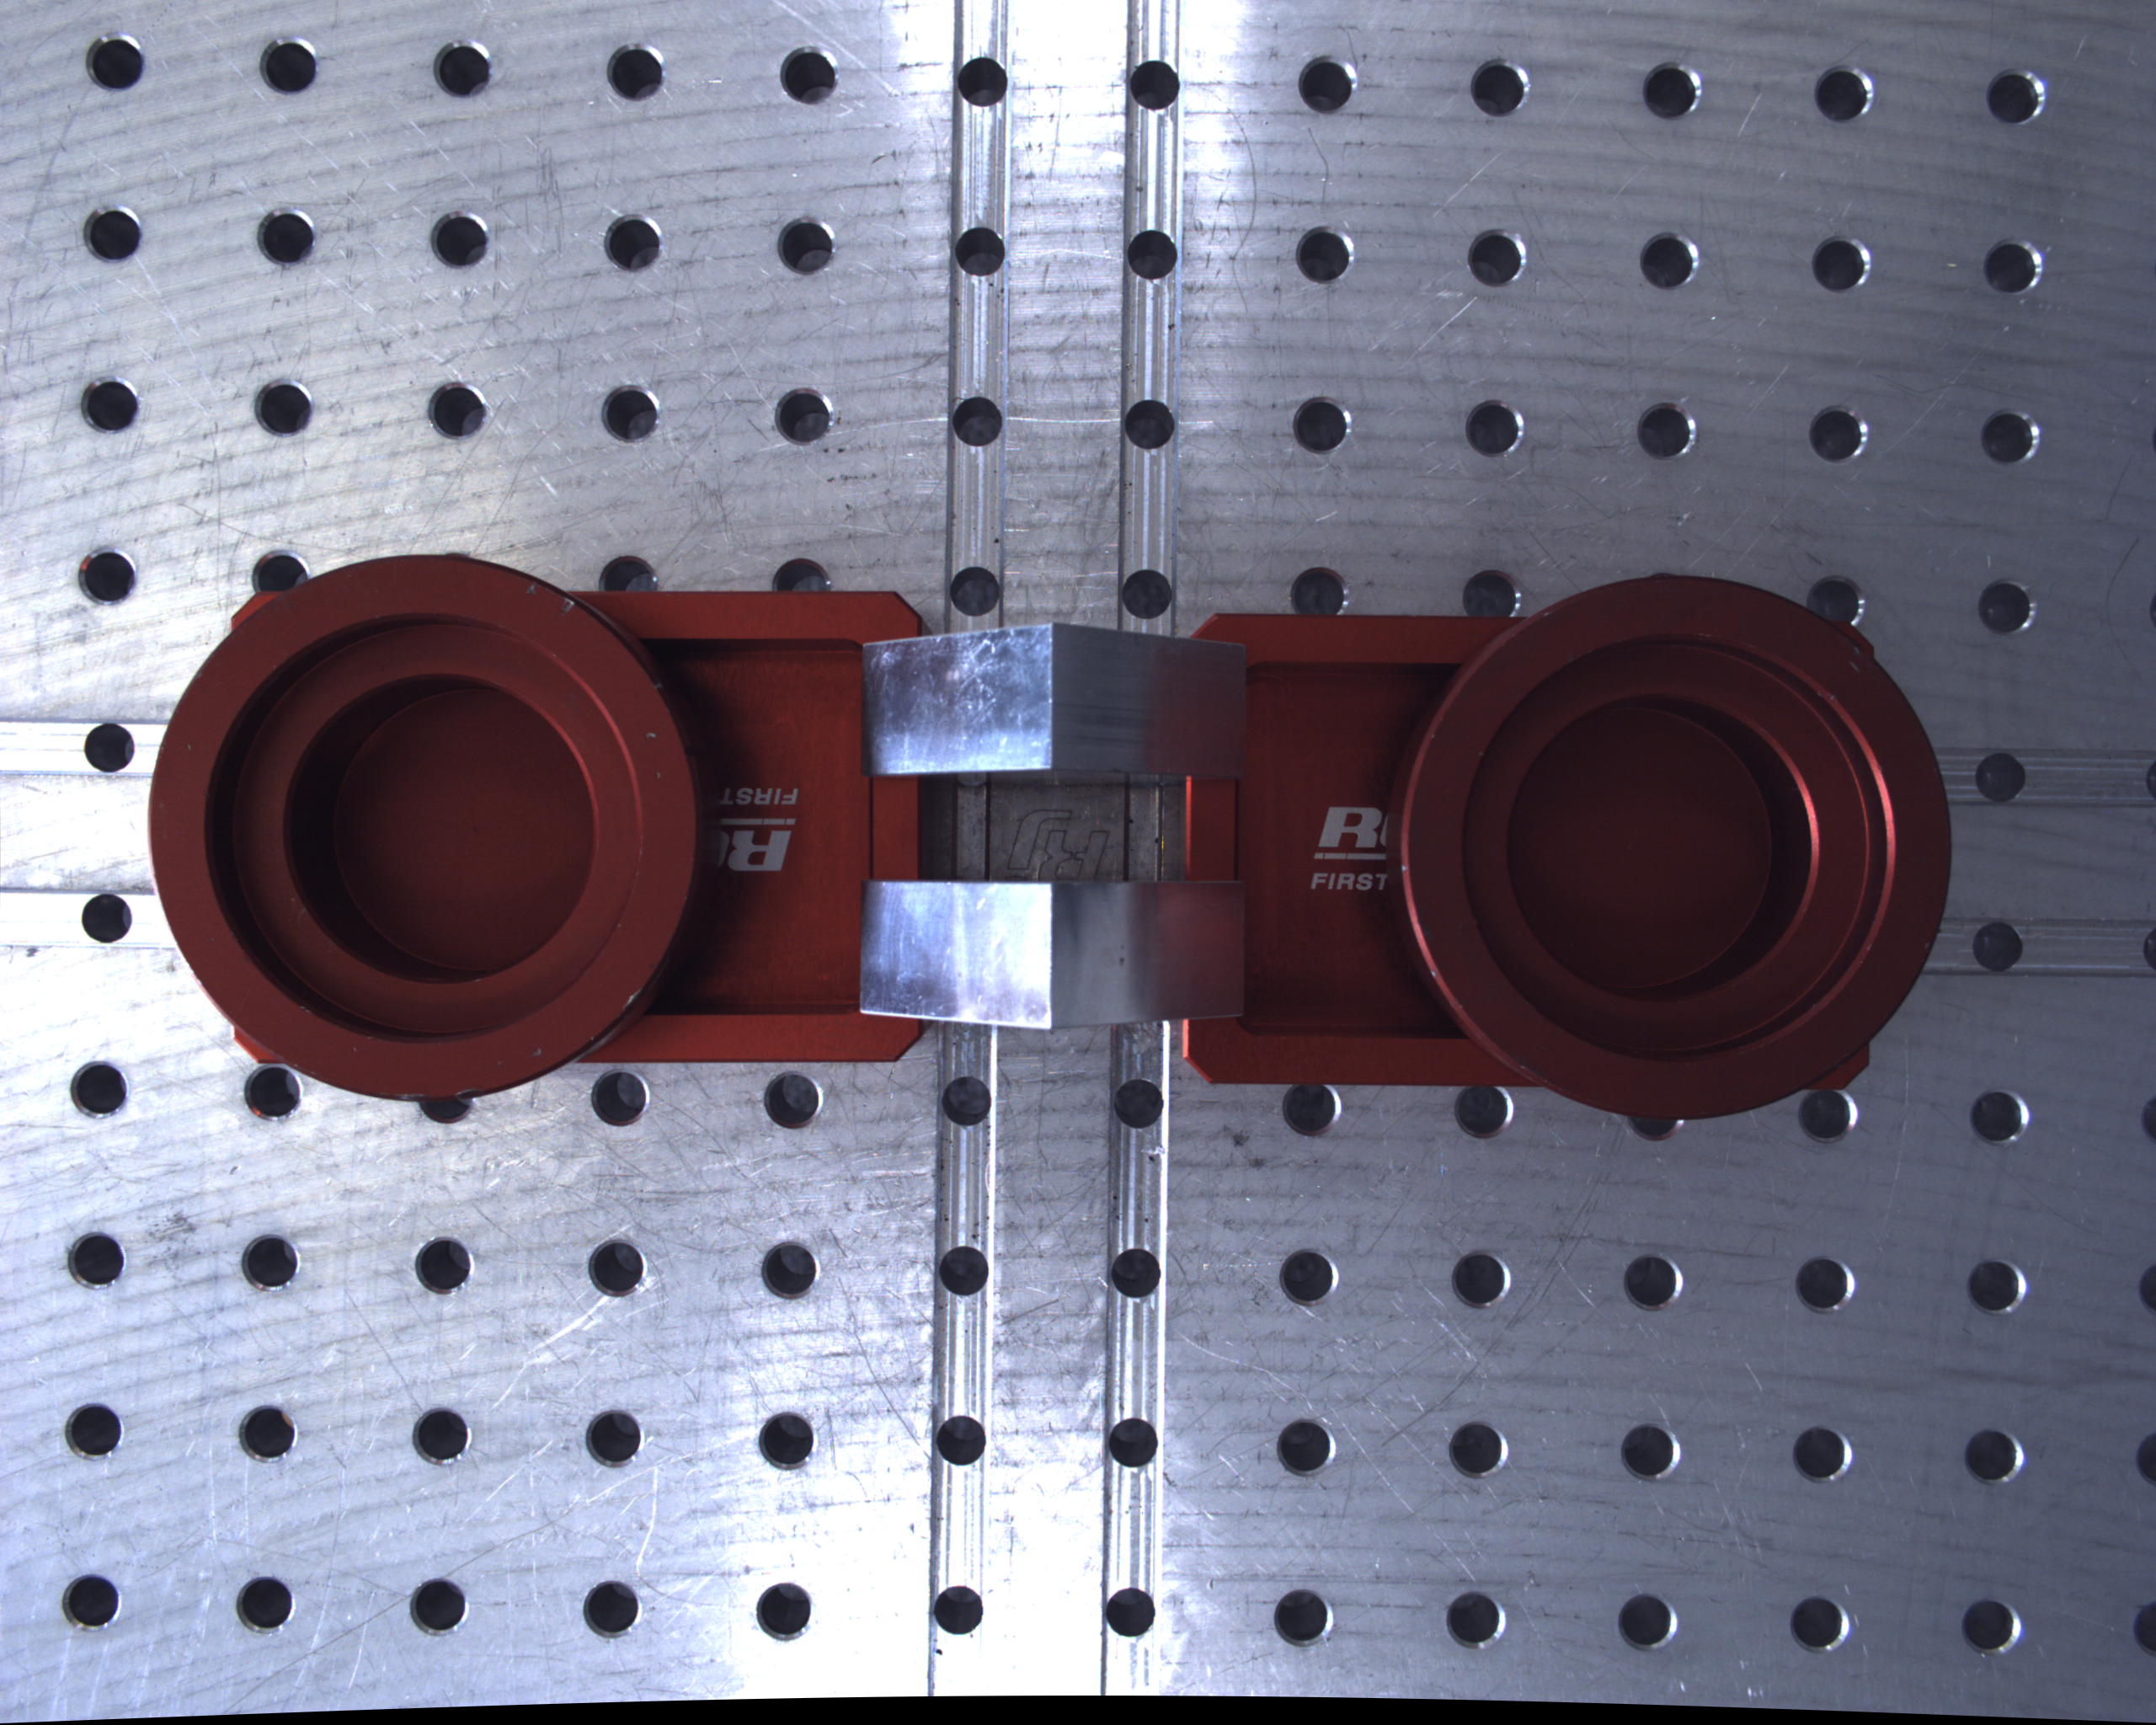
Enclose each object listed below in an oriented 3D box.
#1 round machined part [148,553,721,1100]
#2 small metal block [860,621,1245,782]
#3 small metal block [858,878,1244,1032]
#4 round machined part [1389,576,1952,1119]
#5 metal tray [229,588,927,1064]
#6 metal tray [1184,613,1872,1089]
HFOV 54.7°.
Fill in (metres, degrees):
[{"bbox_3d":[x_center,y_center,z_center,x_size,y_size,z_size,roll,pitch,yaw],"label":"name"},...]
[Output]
[{"bbox_3d":[-0.116,-0.006,0.391,0.099,0.042,0.097,0,90,0],"label":"round machined part"},{"bbox_3d":[-0.005,-0.029,0.386,0.050,0.050,0.025,1,90,44],"label":"small metal block"},{"bbox_3d":[-0.005,0.016,0.386,0.050,0.050,0.025,1,90,44],"label":"small metal block"},{"bbox_3d":[0.107,-0.003,0.393,0.099,0.042,0.097,0,90,0],"label":"round machined part"},{"bbox_3d":[-0.095,-0.007,0.411,0.131,0.030,0.089,-1,92,0],"label":"metal tray"},{"bbox_3d":[0.086,-0.002,0.412,0.131,0.030,0.089,1,90,0],"label":"metal tray"}]
